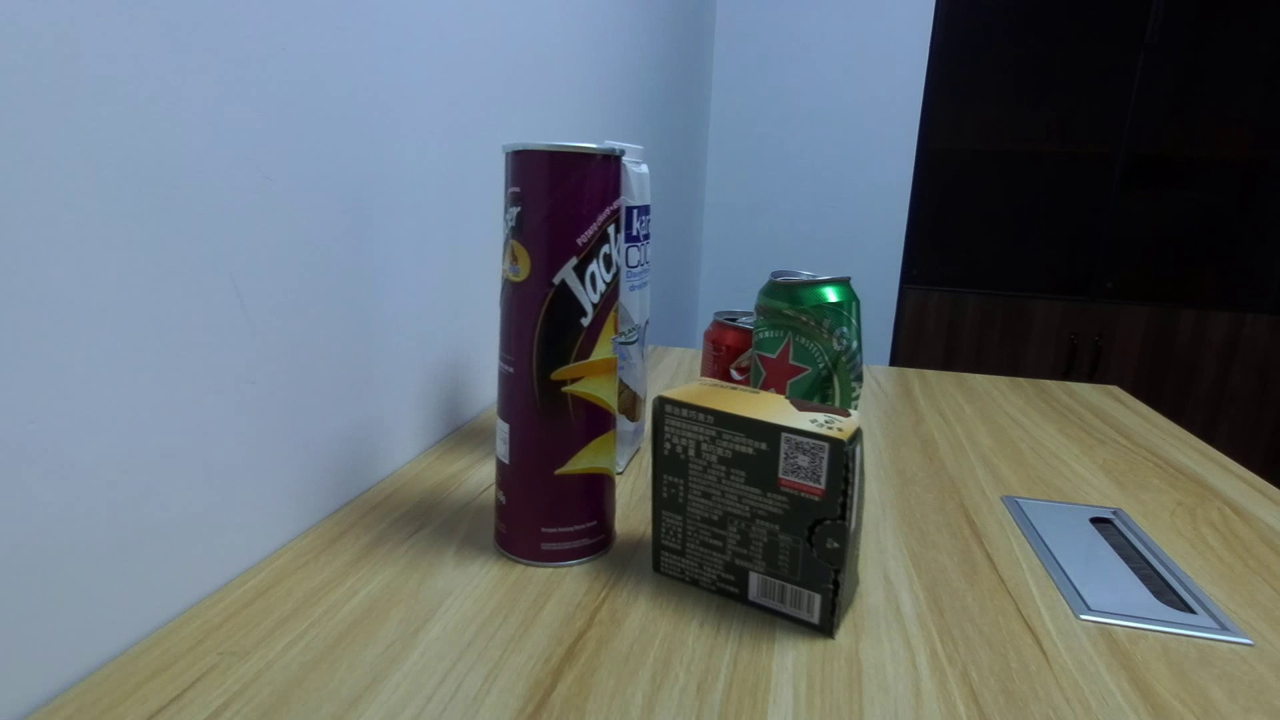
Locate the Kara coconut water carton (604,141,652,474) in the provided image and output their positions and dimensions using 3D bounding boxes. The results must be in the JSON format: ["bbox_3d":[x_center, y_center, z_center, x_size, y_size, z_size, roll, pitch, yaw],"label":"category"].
[{"bbox_3d":[-0.031,-0.038,0.541,0.075,0.245,0.077,4,11,18],"label":"Kara coconut water carton"}]

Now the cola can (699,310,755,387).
[{"bbox_3d":[0.084,0.019,0.594,0.072,0.117,0.065,-8,16,-32],"label":"cola can"}]

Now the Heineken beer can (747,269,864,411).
[{"bbox_3d":[0.113,0.023,0.487,0.066,0.164,0.077,4,9,1],"label":"Heineken beer can"}]

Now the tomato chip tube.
[{"bbox_3d":[-0.047,-0.003,0.419,0.076,0.234,0.080,9,15,29],"label":"tomato chip tube"}]

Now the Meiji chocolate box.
[{"bbox_3d":[0.067,0.073,0.386,0.113,0.110,0.058,11,18,32],"label":"Meiji chocolate box"}]
